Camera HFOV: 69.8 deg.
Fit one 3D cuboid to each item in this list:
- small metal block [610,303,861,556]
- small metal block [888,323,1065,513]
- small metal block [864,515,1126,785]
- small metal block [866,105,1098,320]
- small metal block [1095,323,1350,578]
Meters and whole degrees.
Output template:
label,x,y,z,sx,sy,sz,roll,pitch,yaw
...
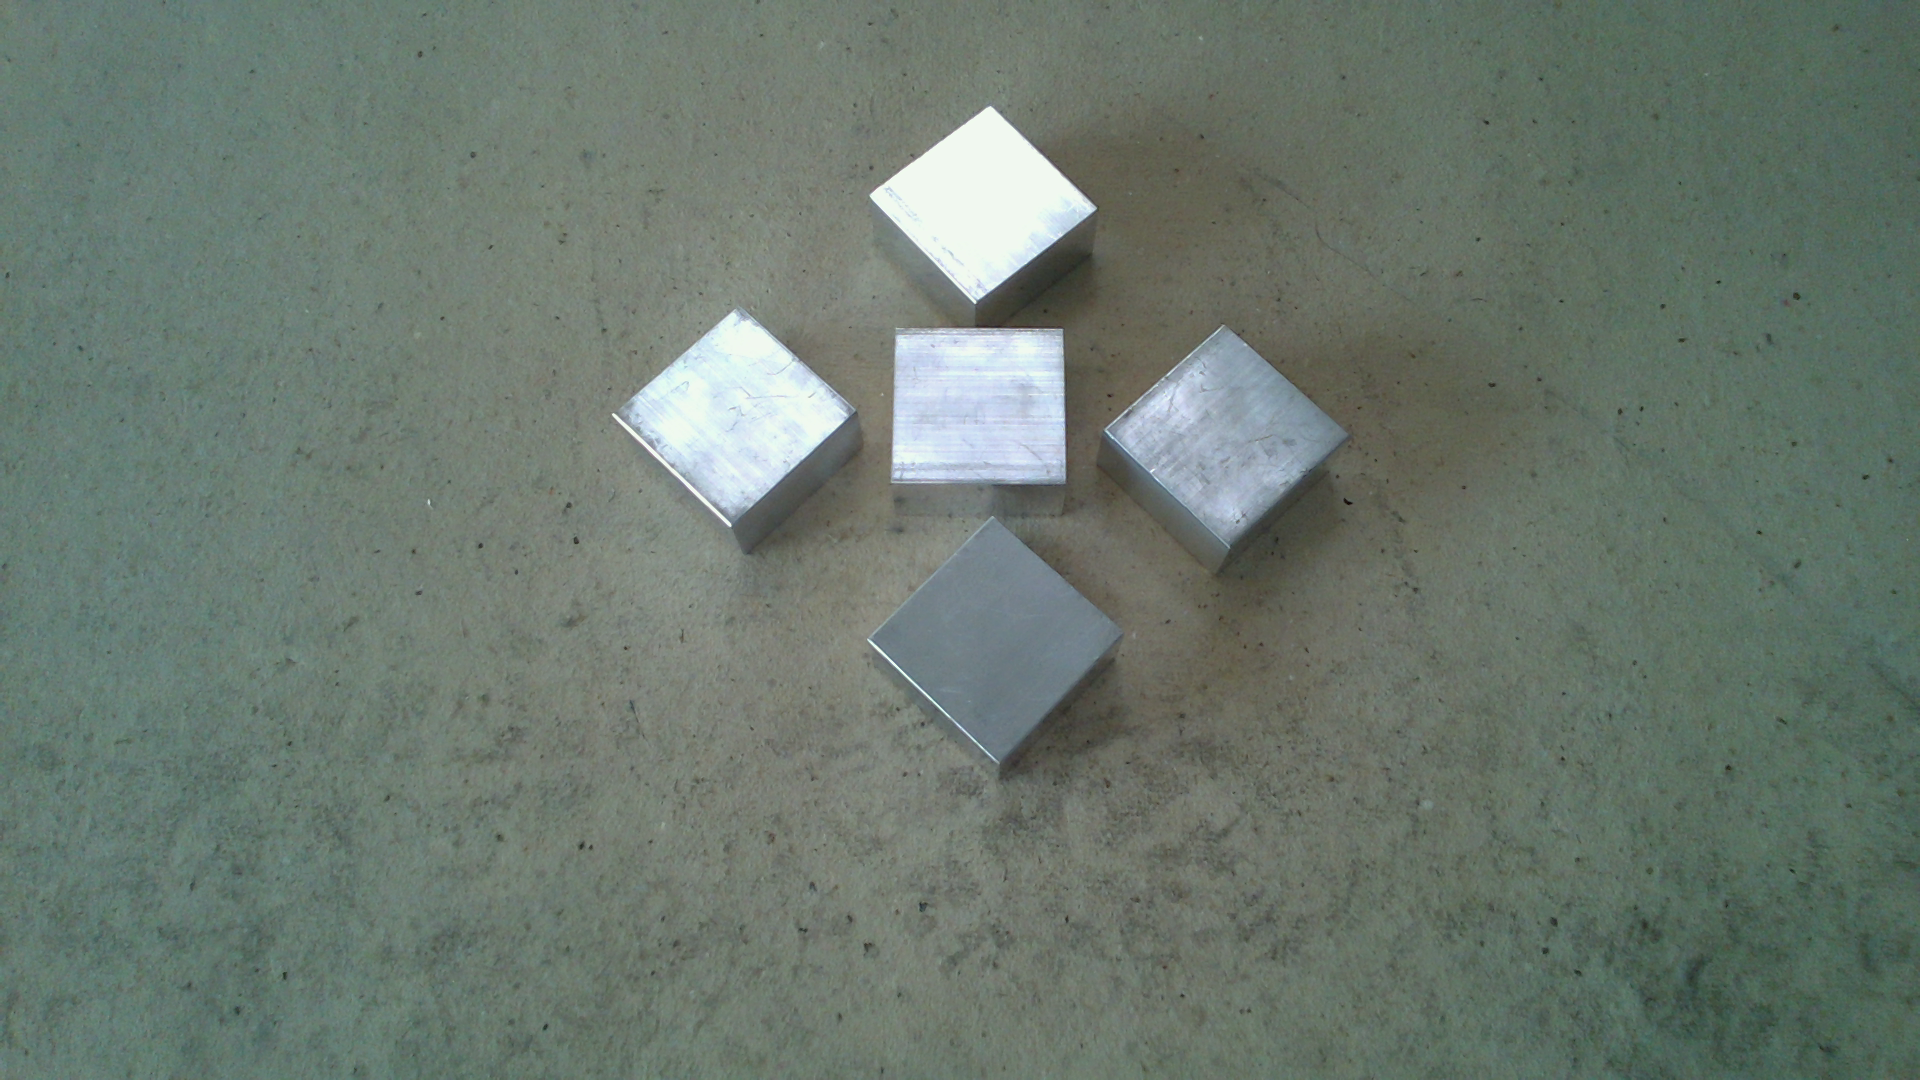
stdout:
label,x,y,z,sx,sy,sz,roll,pitch,yaw
small metal block,-0.065,-0.033,0.407,0.050,0.025,0.050,42,74,14
small metal block,0.005,-0.036,0.408,0.050,0.025,0.050,0,70,0
small metal block,0.009,0.031,0.384,0.050,0.025,0.050,42,74,13
small metal block,0.007,-0.099,0.430,0.050,0.025,0.050,-39,74,-14
small metal block,0.076,-0.026,0.405,0.050,0.025,0.050,-41,75,-13
